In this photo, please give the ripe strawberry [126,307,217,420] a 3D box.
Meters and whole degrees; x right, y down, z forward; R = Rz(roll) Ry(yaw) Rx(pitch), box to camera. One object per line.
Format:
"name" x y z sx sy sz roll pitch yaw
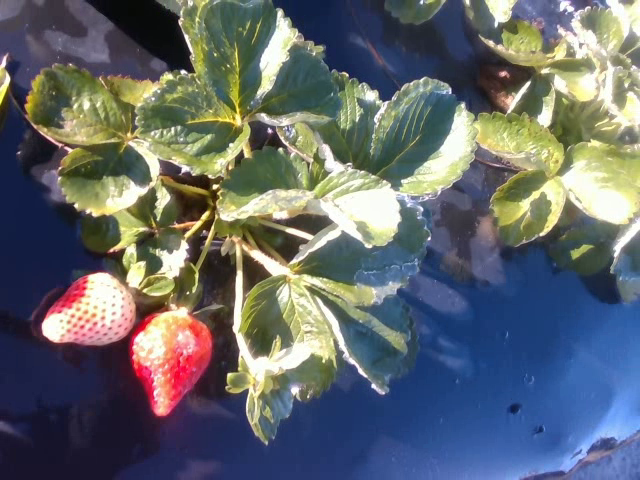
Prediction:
"ripe strawberry" -0.065 0.057 0.264 0.040 0.038 0.056 -1 37 0
